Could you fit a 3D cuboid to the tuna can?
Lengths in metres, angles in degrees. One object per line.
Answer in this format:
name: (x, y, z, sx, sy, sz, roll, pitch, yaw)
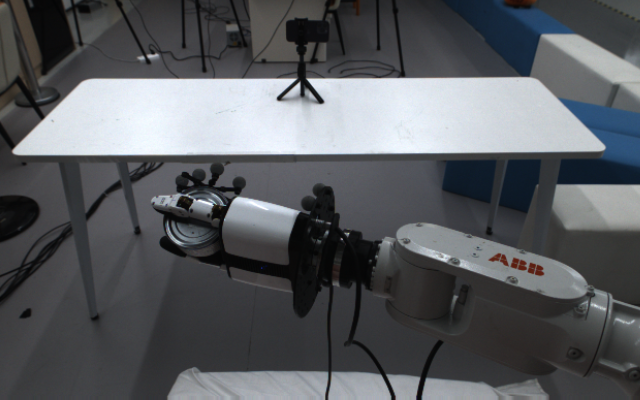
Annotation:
tuna can: (-0.151, 0.029, 0.616, 0.085, 0.034, 0.085, -3, 61, 6)
